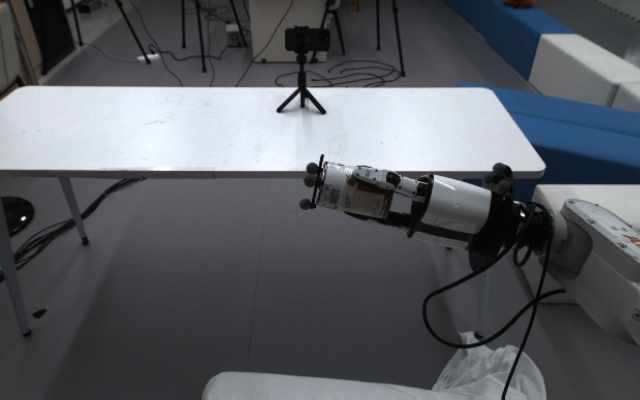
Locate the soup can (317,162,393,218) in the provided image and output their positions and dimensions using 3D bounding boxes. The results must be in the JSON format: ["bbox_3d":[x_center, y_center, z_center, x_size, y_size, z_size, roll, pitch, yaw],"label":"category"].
[{"bbox_3d":[0.052,-0.014,0.698,0.101,0.067,0.067,11,35,-2],"label":"soup can"}]
